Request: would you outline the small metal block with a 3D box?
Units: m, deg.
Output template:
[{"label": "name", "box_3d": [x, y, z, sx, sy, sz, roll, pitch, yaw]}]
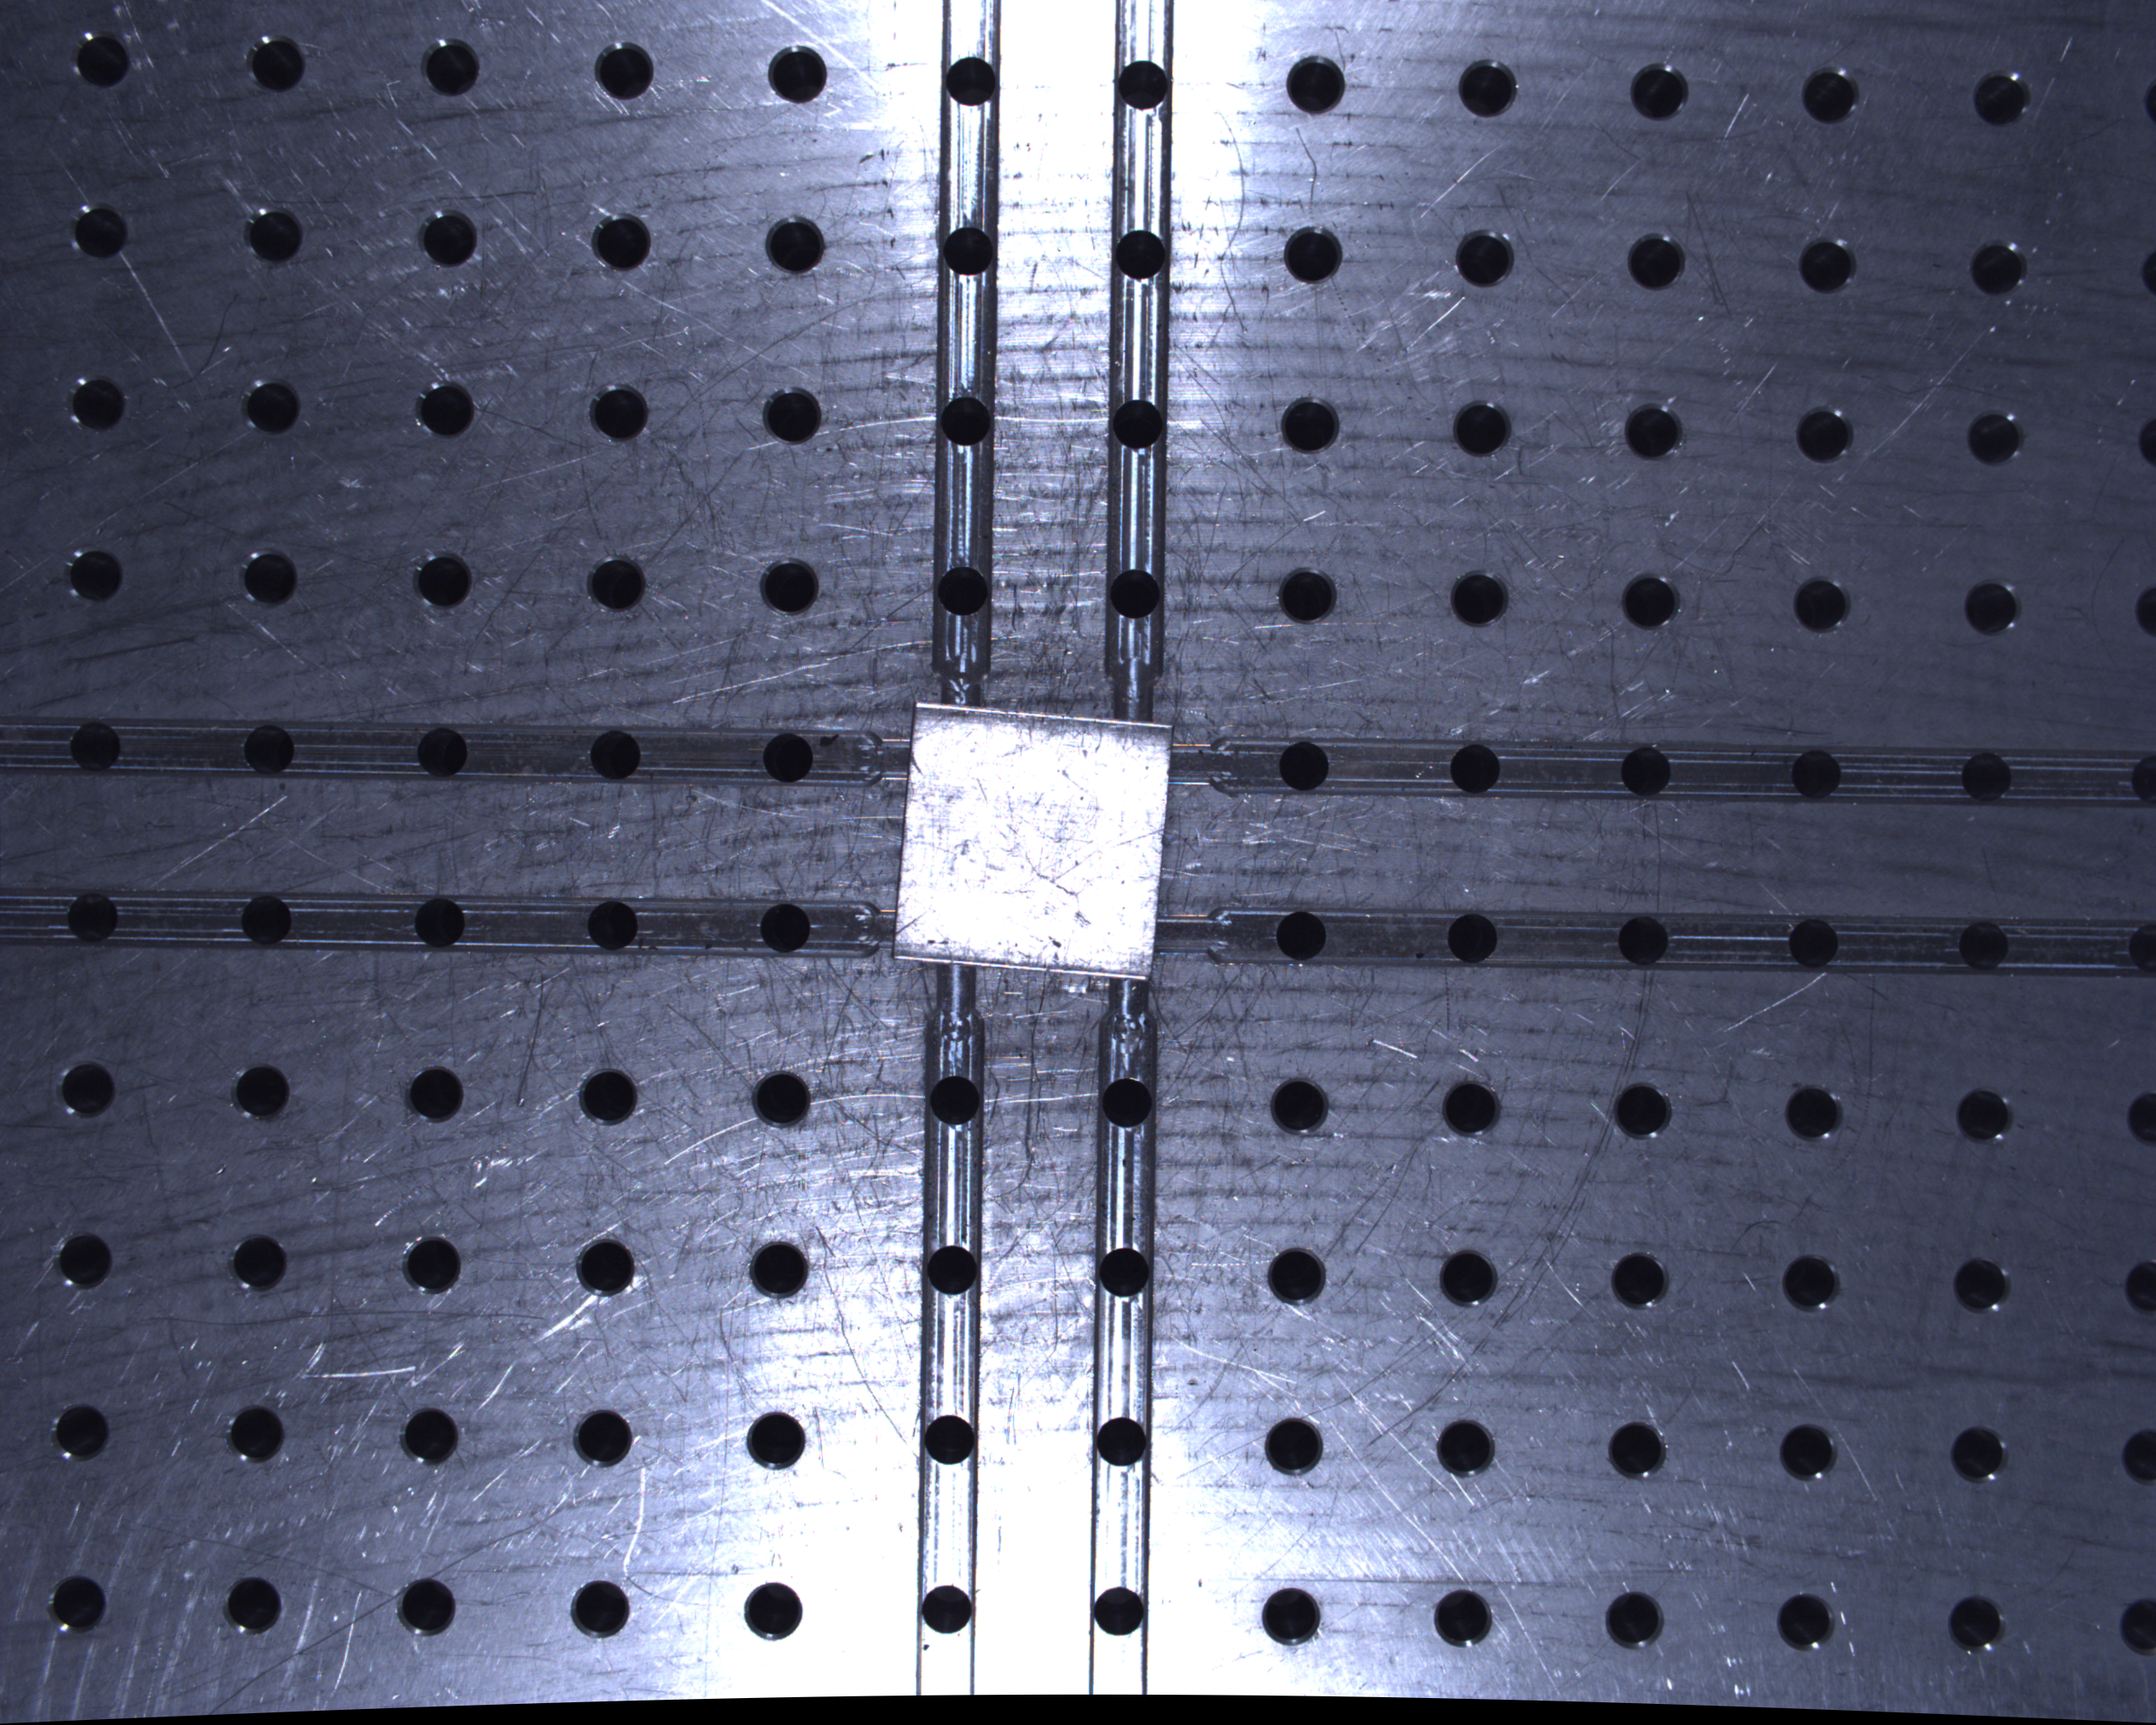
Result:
[{"label": "small metal block", "box_3d": [-0.009, -0.004, 0.413, 0.050, 0.025, 0.050, 5, 90, -1]}]
